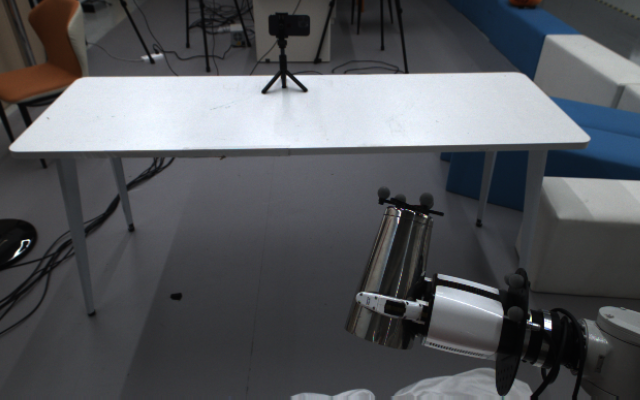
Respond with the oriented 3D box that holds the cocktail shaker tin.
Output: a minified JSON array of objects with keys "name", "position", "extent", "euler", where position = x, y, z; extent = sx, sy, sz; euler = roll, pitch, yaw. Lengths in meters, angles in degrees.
[{"name":"cocktail shaker tin","position":[0.099,0.100,0.644],"extent":[0.093,0.170,0.093],"euler":[15,-4,1]}]
